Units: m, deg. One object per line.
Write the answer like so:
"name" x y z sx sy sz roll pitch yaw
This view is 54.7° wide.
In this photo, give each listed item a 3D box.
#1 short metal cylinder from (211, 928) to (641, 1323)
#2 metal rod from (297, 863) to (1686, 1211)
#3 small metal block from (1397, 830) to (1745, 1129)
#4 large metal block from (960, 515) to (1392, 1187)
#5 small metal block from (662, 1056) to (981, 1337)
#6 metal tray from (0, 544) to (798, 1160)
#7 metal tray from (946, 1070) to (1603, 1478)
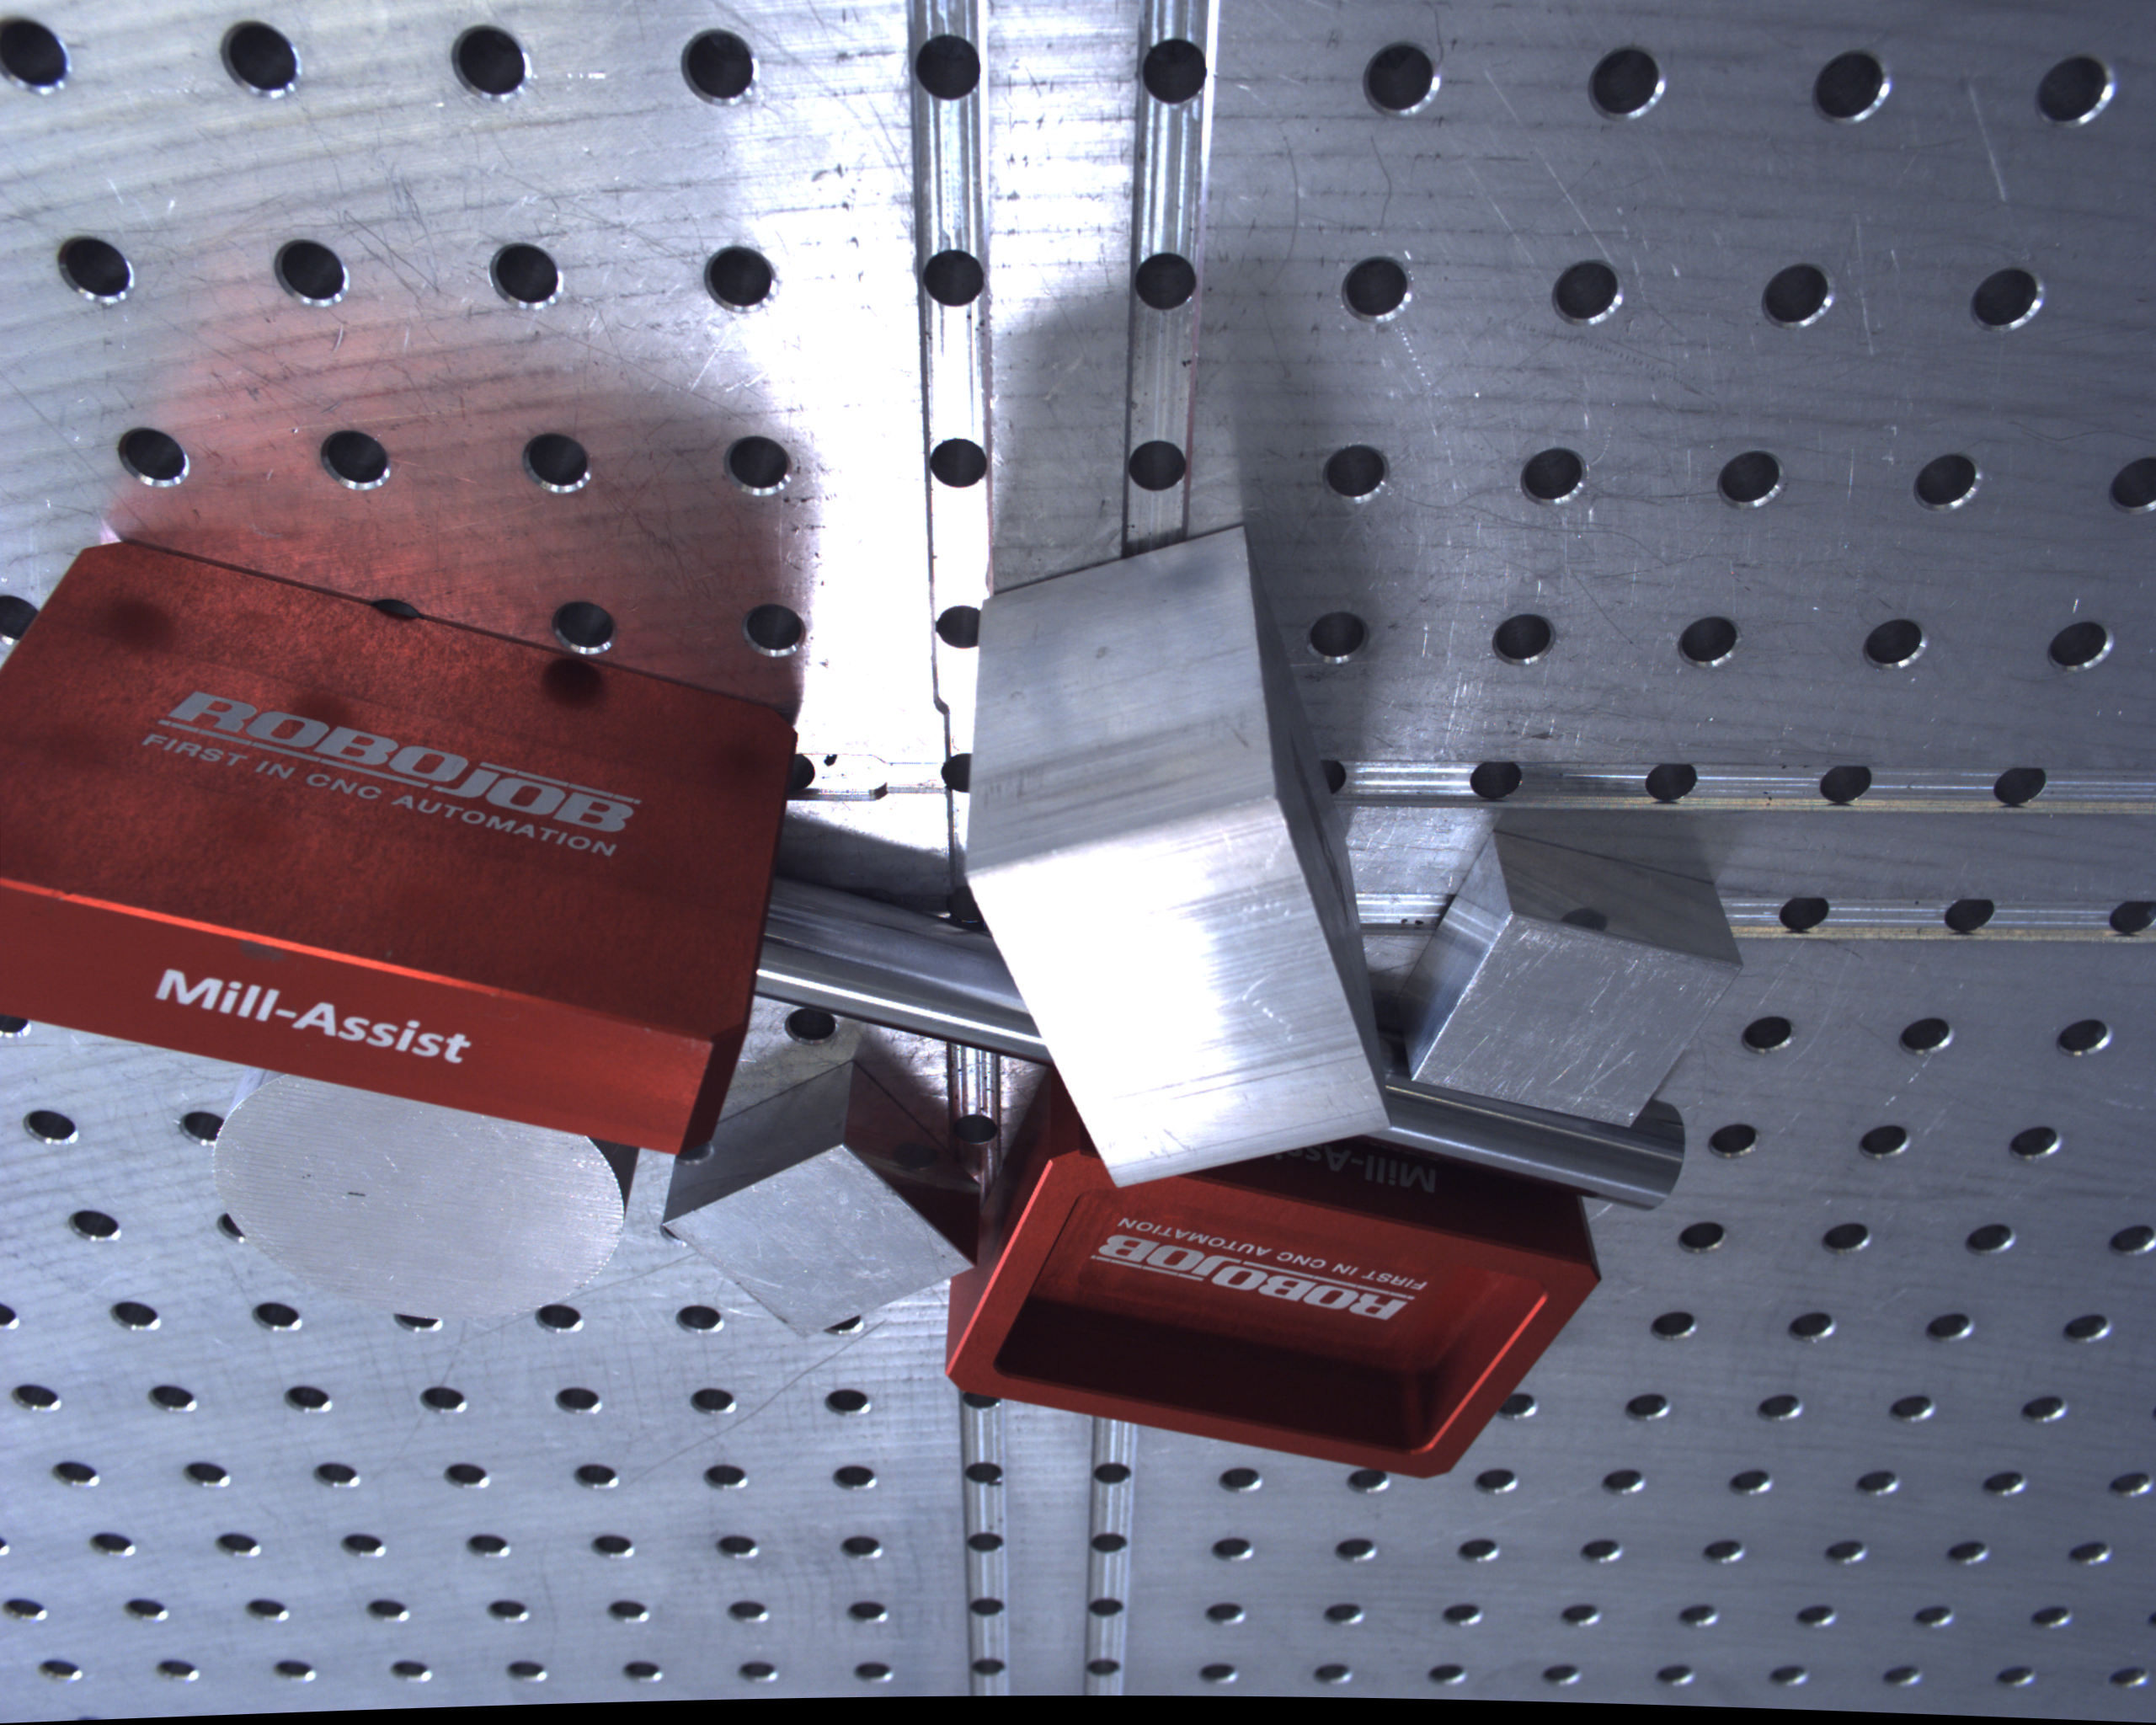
"short metal cylinder" -0.132 0.052 0.437 0.081 0.050 0.079 0 130 0
"metal rod" -0.013 0.028 0.435 0.302 0.025 0.025 15 129 -13
"small metal block" 0.101 0.025 0.433 0.050 0.025 0.050 13 129 -11
"large metal block" 0.018 -0.002 0.375 0.050 0.080 0.080 -14 129 12
"small metal block" -0.058 0.077 0.478 0.050 0.025 0.050 -26 126 20
"metal tray" -0.120 -0.004 0.363 0.131 0.090 0.030 14 129 -12
"metal tray" 0.044 0.098 0.491 0.131 0.030 0.089 14 129 -12
